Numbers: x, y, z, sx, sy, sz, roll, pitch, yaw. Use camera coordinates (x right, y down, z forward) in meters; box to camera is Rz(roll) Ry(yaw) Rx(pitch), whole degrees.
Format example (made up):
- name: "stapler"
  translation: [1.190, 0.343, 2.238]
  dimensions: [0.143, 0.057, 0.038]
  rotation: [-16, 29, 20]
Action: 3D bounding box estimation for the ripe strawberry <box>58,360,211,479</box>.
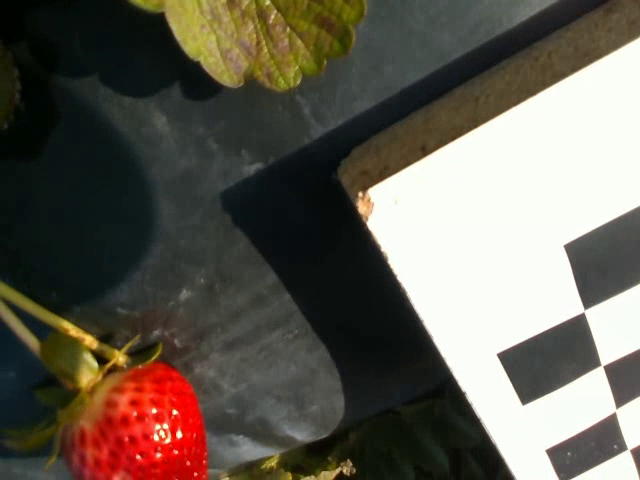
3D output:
- name: "ripe strawberry"
  translation: [-0.041, 0.050, 0.158]
  dimensions: [0.044, 0.040, 0.037]
  rotation: [39, 18, -19]
